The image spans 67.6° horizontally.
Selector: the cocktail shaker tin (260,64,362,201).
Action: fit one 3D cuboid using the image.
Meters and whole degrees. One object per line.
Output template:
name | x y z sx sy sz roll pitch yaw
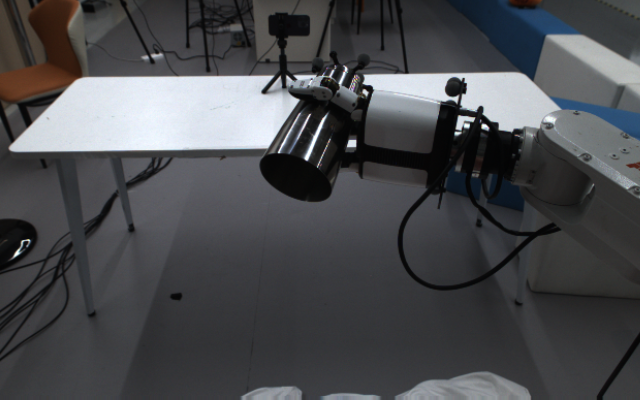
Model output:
cocktail shaker tin | -0.002 -0.094 0.613 0.093 0.093 0.170 13 57 16
